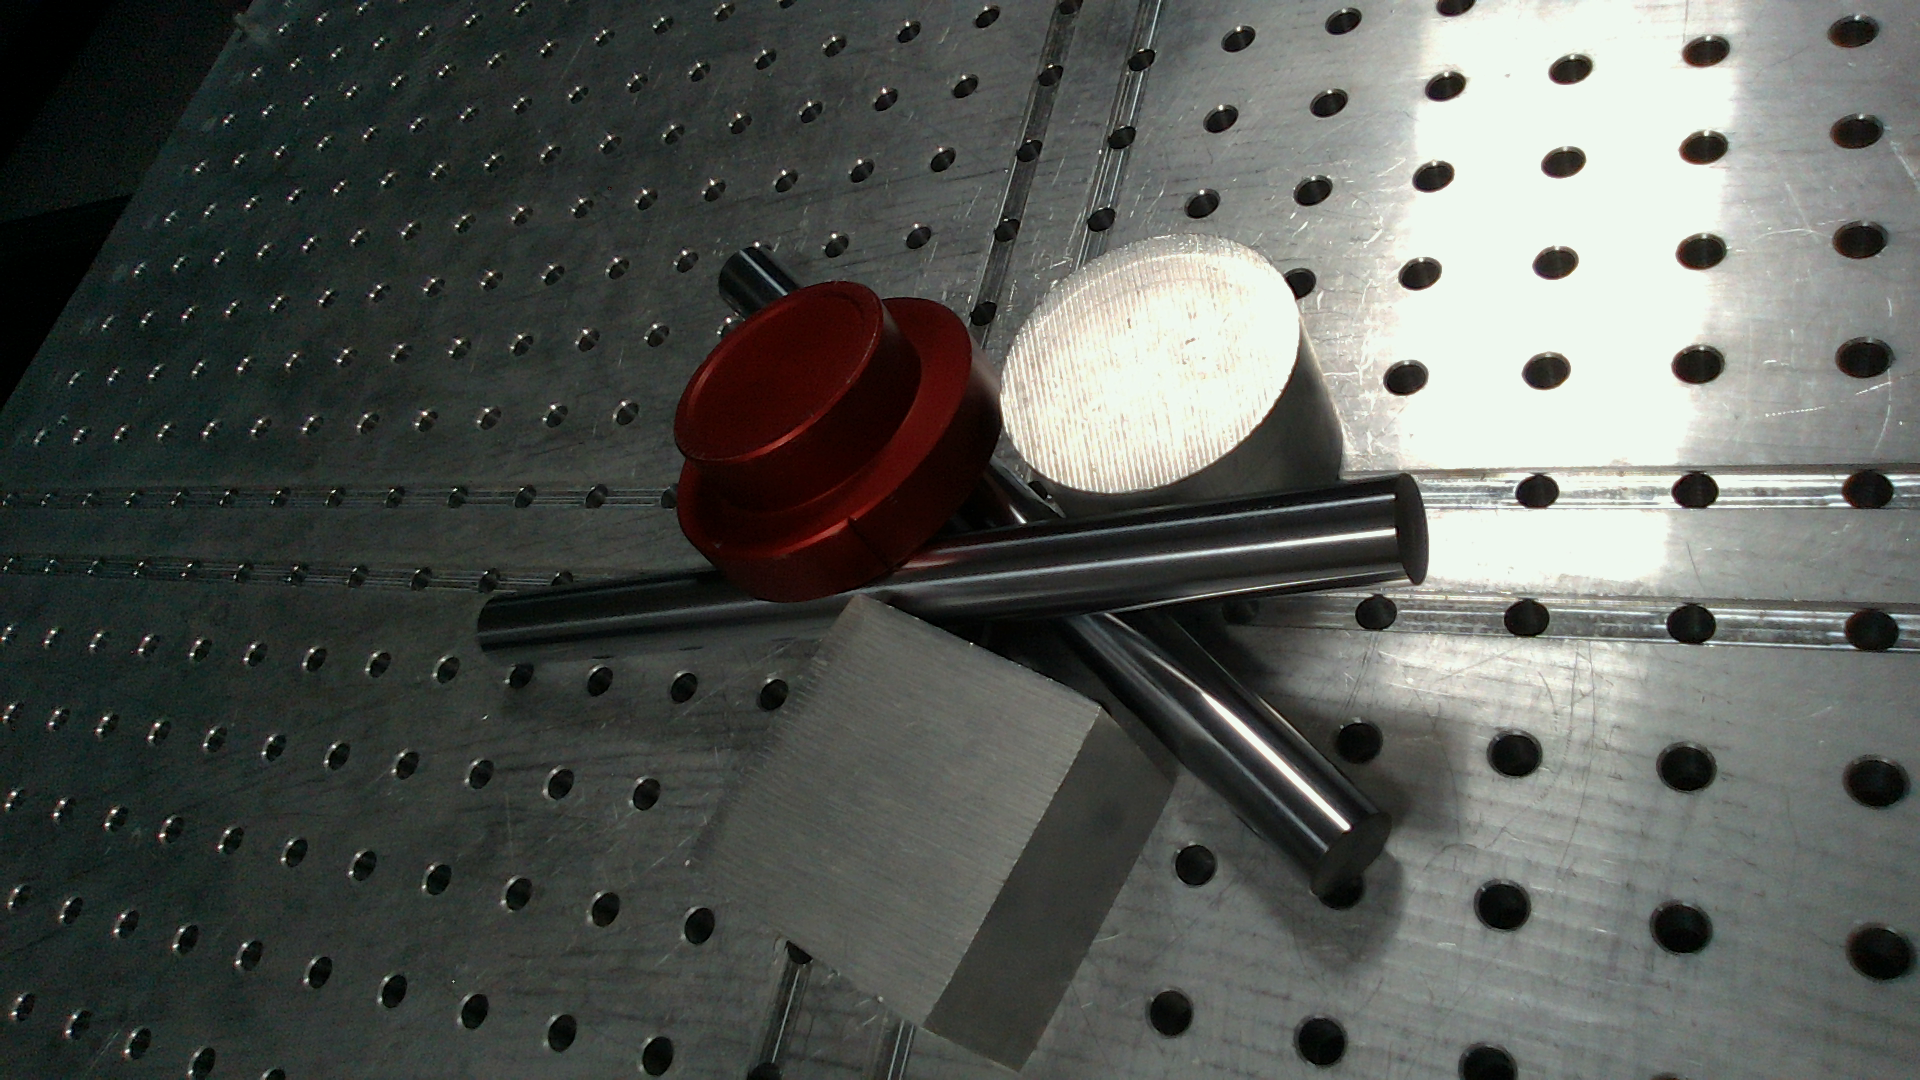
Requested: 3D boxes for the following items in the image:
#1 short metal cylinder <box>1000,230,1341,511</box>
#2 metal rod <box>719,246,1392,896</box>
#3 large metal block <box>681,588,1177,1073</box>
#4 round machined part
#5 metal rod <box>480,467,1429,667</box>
[{"bbox_3d":[0.057,-0.035,0.370,0.080,0.050,0.080,-14,56,21],"label":"short metal cylinder"},{"bbox_3d":[0.006,-0.012,0.401,0.025,0.025,0.299,-43,51,-2],"label":"metal rod"},{"bbox_3d":[-0.007,0.069,0.339,0.080,0.050,0.080,22,73,36],"label":"large metal block"},{"bbox_3d":[-0.040,-0.033,0.384,0.098,0.042,0.098,-20,44,20],"label":"round machined part"},{"bbox_3d":[-0.026,0.013,0.379,0.299,0.025,0.025,-8,58,33],"label":"metal rod"}]
